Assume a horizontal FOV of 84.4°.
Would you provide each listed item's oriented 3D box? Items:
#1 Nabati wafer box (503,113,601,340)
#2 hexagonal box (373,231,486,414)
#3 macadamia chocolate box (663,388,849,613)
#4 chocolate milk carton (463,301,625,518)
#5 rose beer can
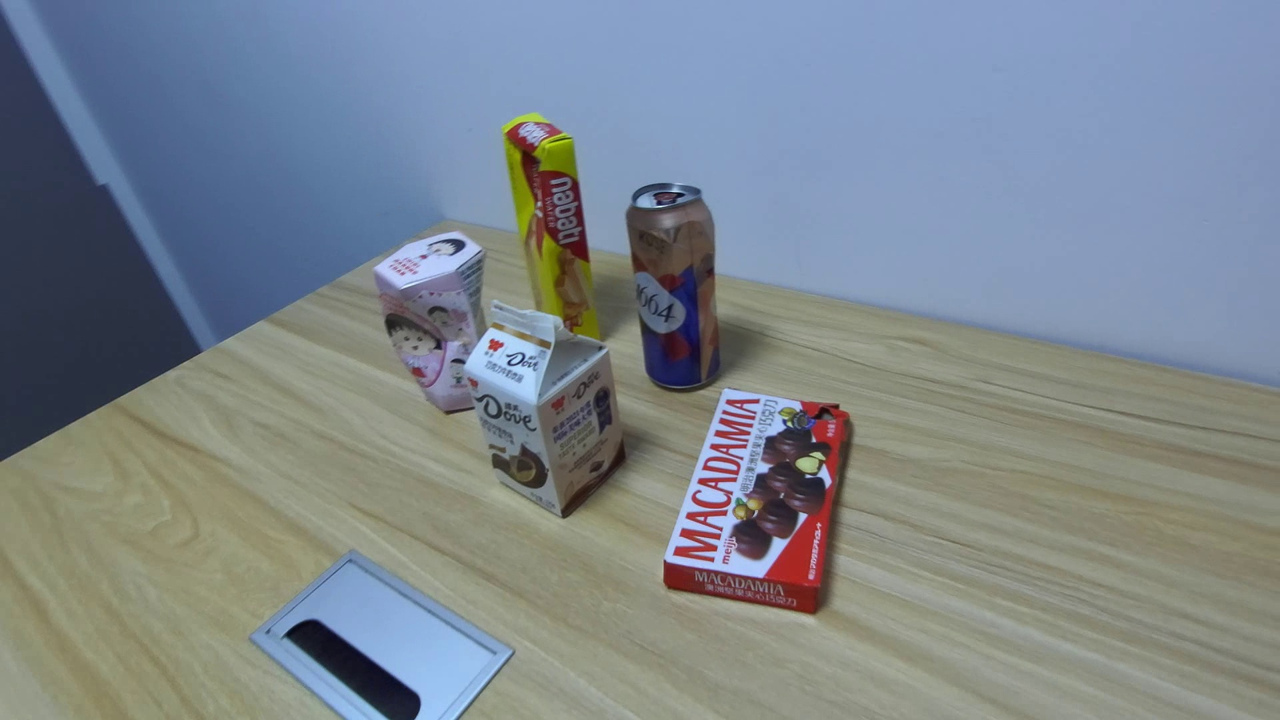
[{"bbox_3d":[-0.080,-0.111,0.648,0.042,0.204,0.096,-16,36,-15],"label":"Nabati wafer box"},{"bbox_3d":[-0.167,-0.032,0.618,0.088,0.135,0.093,1,37,13],"label":"hexagonal box"},{"bbox_3d":[0.087,0.083,0.487,0.102,0.027,0.187,6,37,17],"label":"macadamia chocolate box"},{"bbox_3d":[-0.067,0.025,0.497,0.075,0.148,0.074,21,45,35],"label":"chocolate milk carton"},{"bbox_3d":[0.031,-0.057,0.575,0.065,0.167,0.075,-16,33,-14],"label":"rose beer can"}]
